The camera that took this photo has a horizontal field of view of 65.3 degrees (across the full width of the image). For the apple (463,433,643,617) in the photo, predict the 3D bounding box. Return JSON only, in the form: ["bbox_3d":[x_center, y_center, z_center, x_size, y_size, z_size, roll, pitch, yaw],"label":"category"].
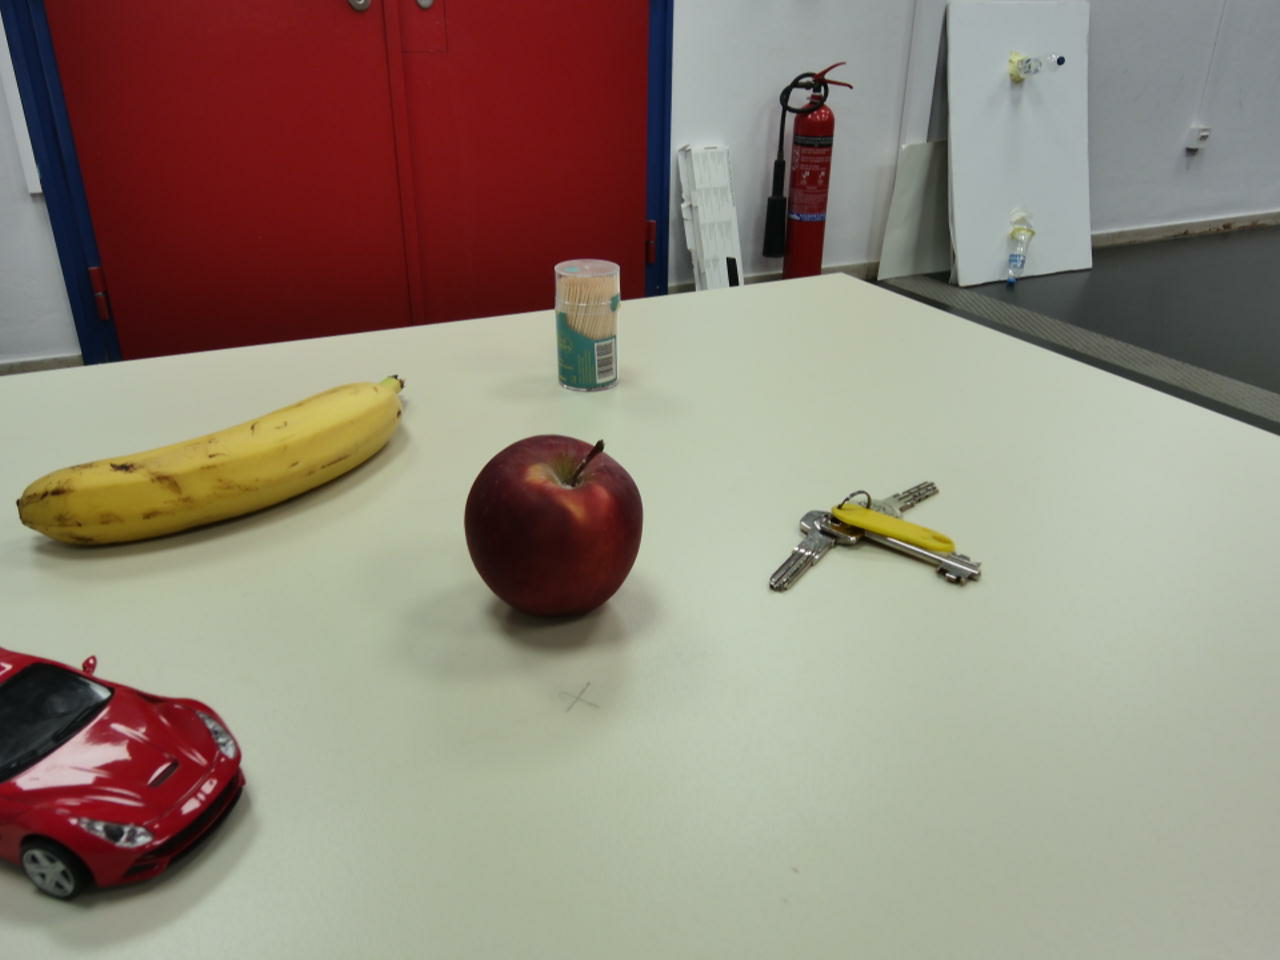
[{"bbox_3d":[-0.033,0.018,0.390,0.070,0.072,0.070,0,24,0],"label":"apple"}]
